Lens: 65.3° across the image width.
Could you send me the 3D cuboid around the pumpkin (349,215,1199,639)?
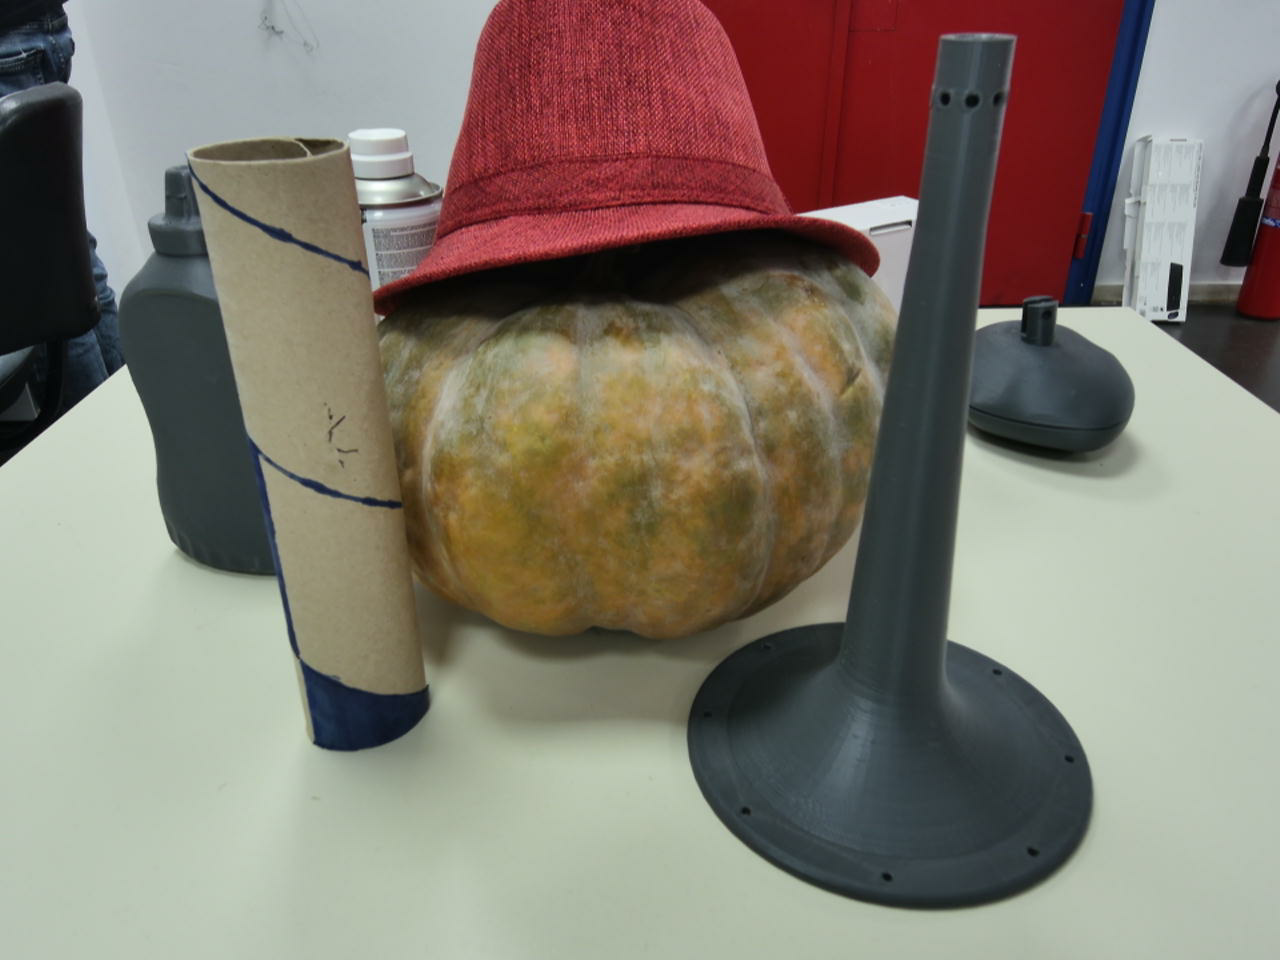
[{"bbox_3d":[-0.011,-0.030,0.464,0.252,0.169,0.251,0,26,0],"label":"pumpkin"}]
